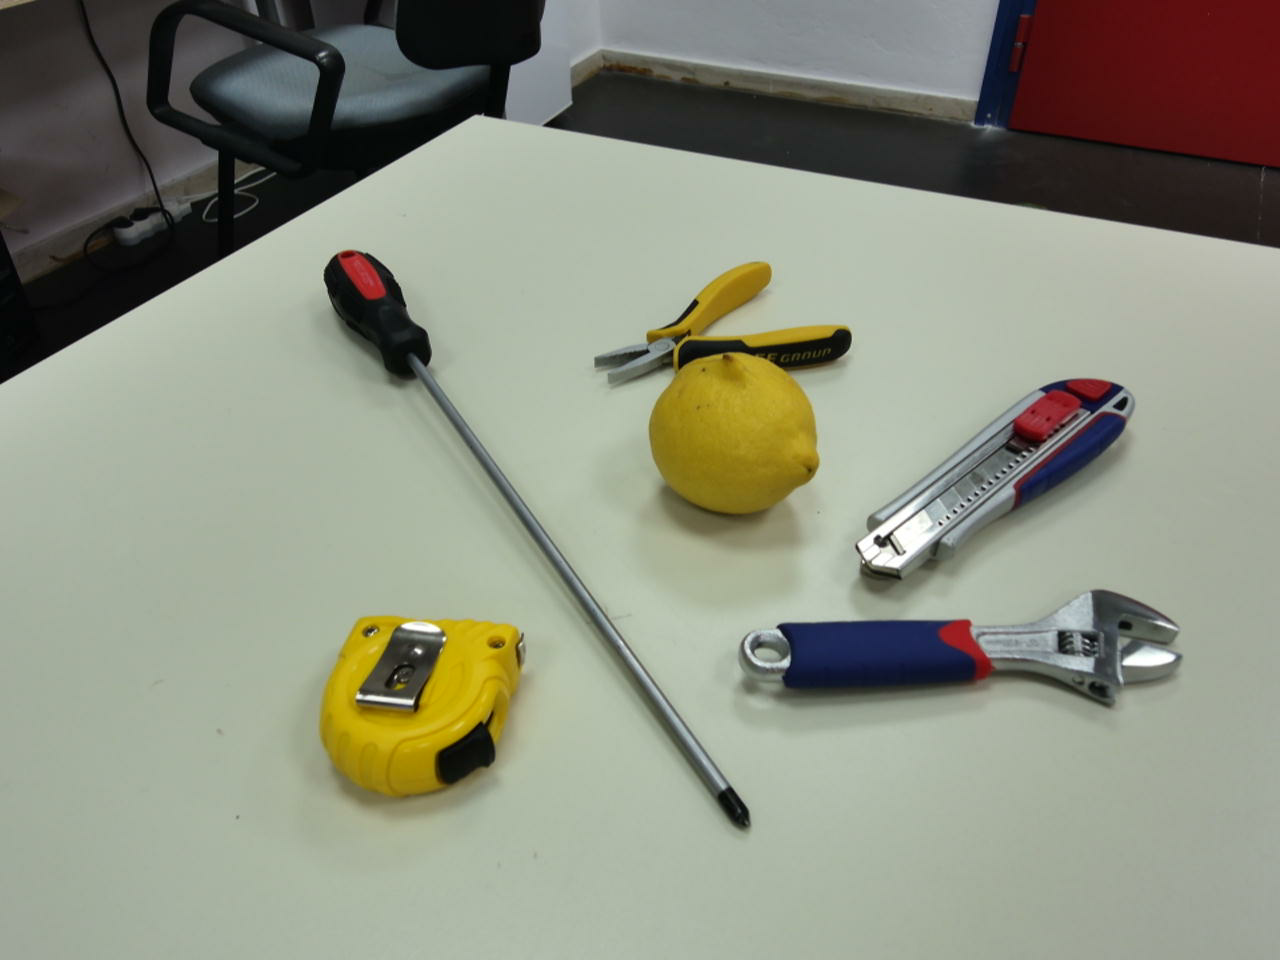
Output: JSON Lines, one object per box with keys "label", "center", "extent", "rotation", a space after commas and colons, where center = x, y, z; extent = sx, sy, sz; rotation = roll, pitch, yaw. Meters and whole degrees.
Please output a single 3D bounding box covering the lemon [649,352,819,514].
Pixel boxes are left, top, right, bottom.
{"label": "lemon", "center": [0.040, -0.023, 0.427], "extent": [0.070, 0.071, 0.071], "rotation": [-3, 38, -5]}
